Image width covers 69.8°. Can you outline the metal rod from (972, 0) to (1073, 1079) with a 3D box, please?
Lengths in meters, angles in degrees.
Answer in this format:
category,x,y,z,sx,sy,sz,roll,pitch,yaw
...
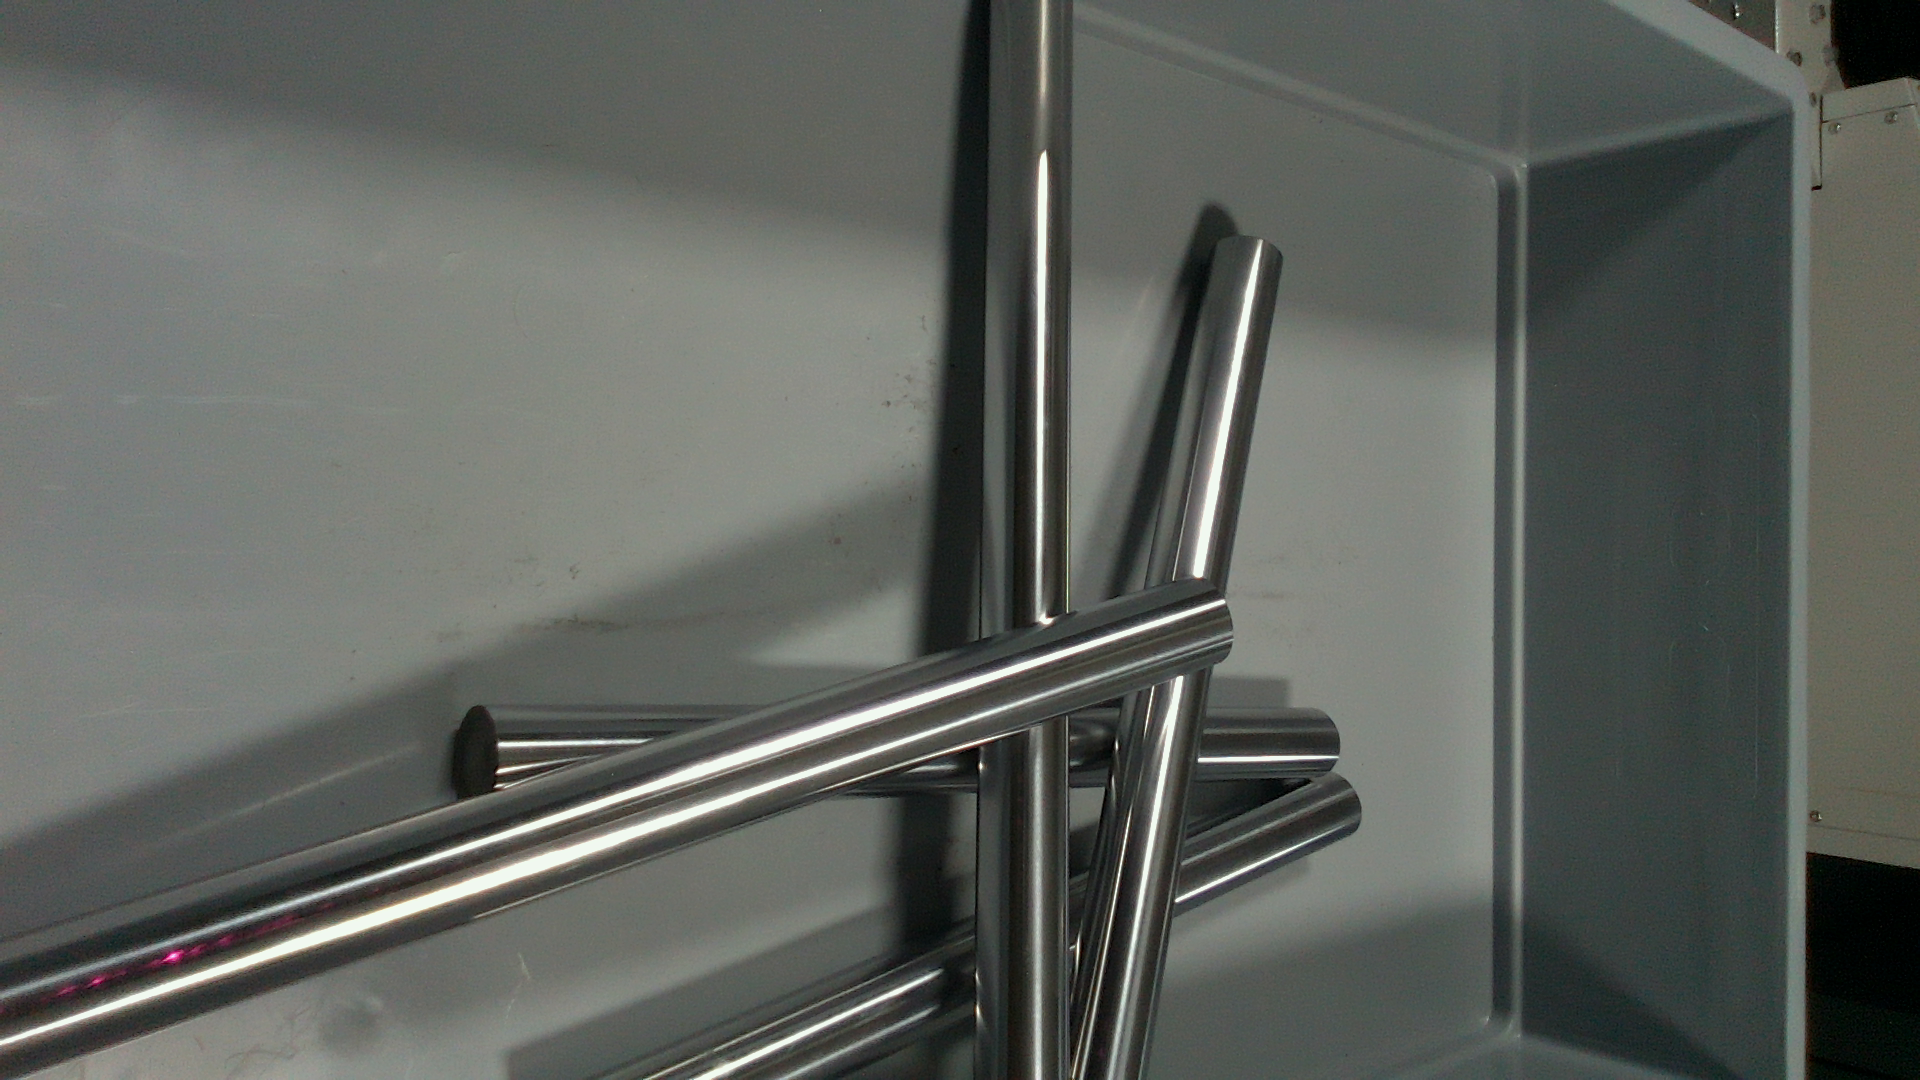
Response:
category,x,y,z,sx,sy,sz,roll,pitch,yaw
metal rod,0.018,-0.010,0.380,0.025,0.025,0.300,8,78,-39

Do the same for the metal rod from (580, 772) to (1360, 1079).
category,x,y,z,sx,sy,sz,roll,pitch,yaw
metal rod,0.020,0.117,0.404,0.301,0.025,0.025,-11,97,-39

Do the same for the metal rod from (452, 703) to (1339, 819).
category,x,y,z,sx,sy,sz,roll,pitch,yaw
metal rod,0.009,0.060,0.395,0.301,0.025,0.025,6,86,-40

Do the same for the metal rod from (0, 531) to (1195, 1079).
category,x,y,z,sx,sy,sz,roll,pitch,yaw
metal rod,-0.062,0.057,0.303,0.301,0.025,0.025,-22,104,-32

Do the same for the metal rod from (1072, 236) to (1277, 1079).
category,x,y,z,sx,sy,sz,roll,pitch,yaw
metal rod,0.062,0.040,0.413,0.025,0.025,0.300,30,63,-36
